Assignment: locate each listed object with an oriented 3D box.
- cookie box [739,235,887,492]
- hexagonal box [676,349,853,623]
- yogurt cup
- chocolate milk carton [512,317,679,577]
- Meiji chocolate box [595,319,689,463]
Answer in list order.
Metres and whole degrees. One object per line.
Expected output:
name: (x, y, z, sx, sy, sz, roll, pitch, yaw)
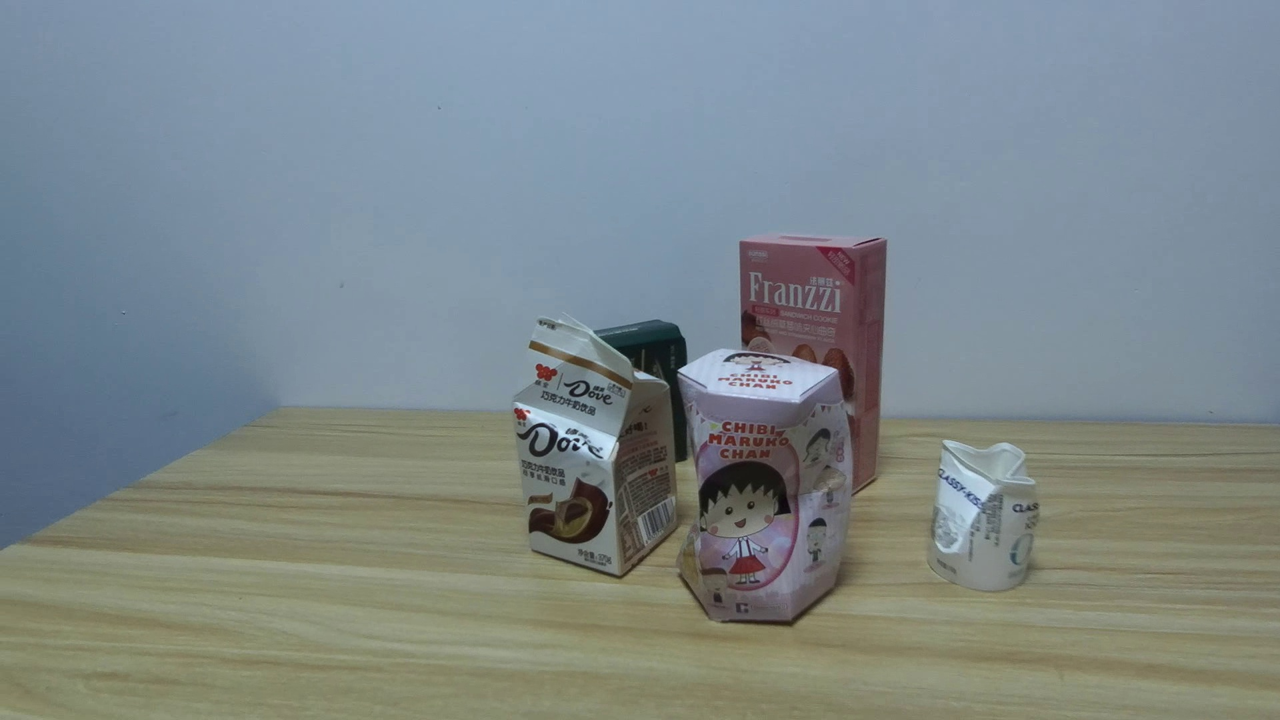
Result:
cookie box: (0.126, 0.003, 0.527, 0.095, 0.184, 0.048, 12, 23, 42)
hexagonal box: (0.061, 0.069, 0.397, 0.089, 0.134, 0.093, -10, 18, -23)
yogurt cup: (0.202, 0.090, 0.414, 0.055, 0.072, 0.055, 5, 18, 17)
chocolate milk carton: (-0.027, 0.047, 0.450, 0.076, 0.155, 0.074, 9, 23, 32)
Meiji chocolate box: (-0.020, 0.031, 0.585, 0.123, 0.116, 0.058, -8, 19, -18)
